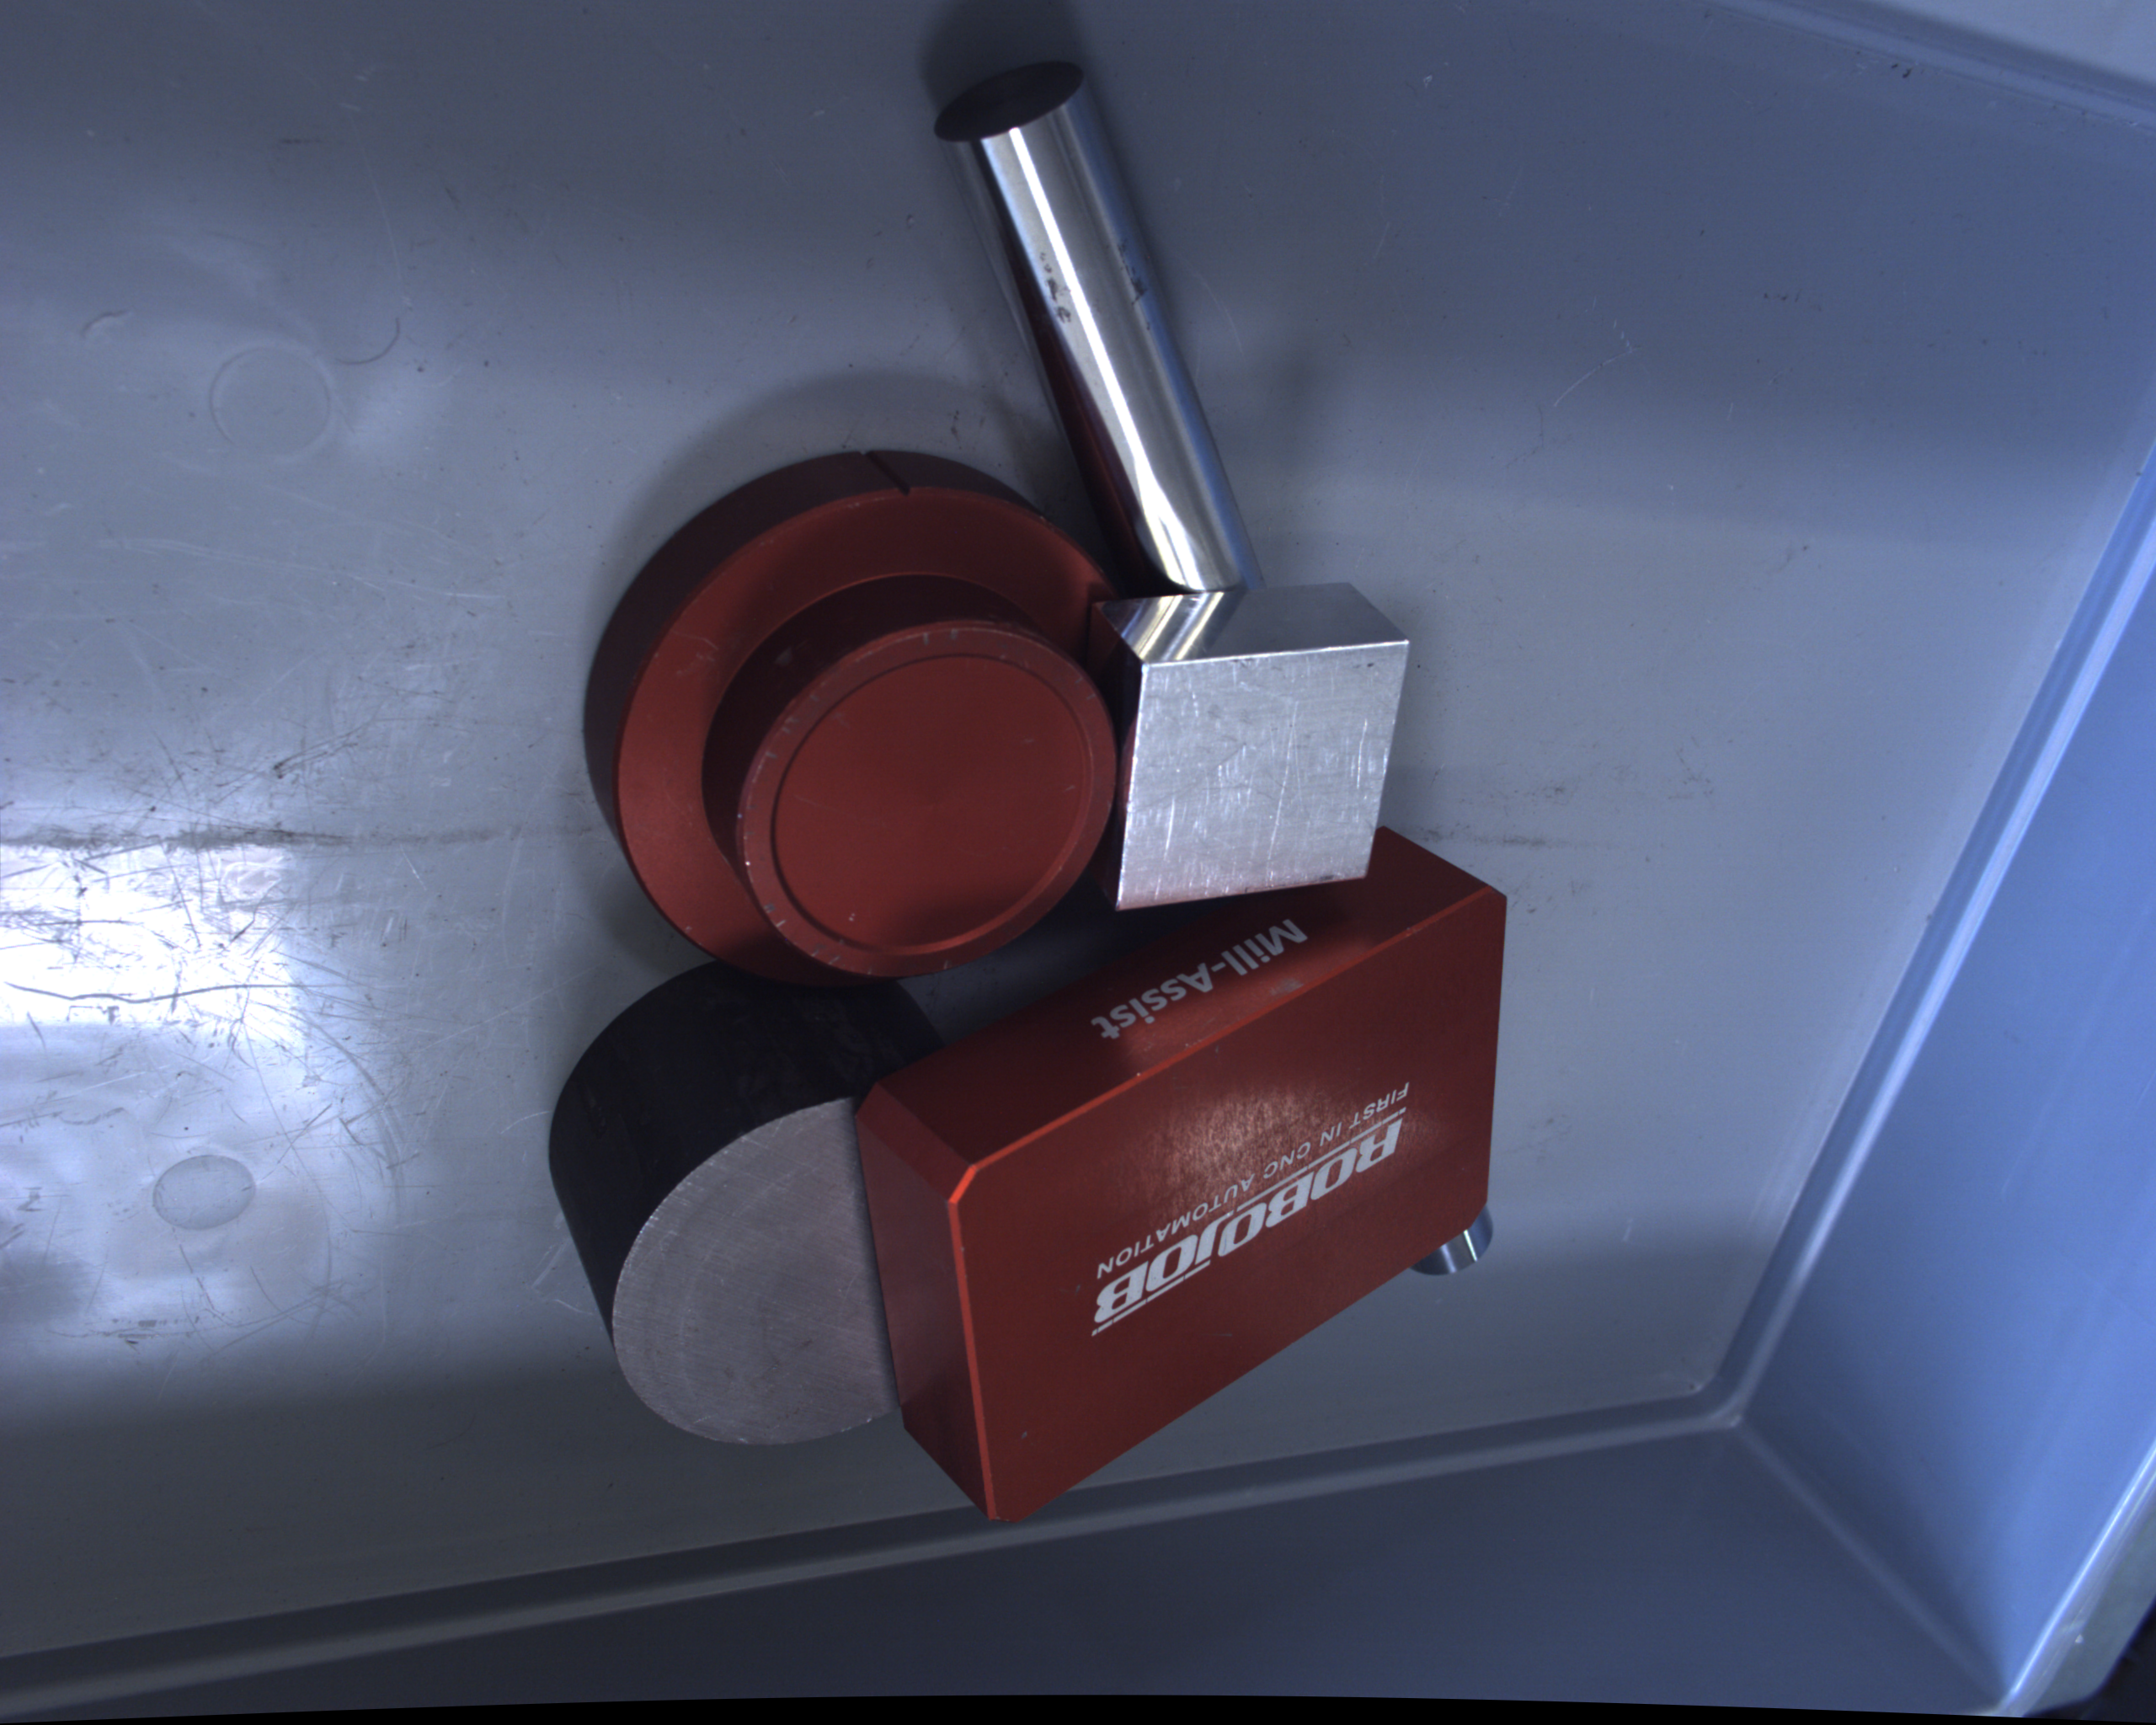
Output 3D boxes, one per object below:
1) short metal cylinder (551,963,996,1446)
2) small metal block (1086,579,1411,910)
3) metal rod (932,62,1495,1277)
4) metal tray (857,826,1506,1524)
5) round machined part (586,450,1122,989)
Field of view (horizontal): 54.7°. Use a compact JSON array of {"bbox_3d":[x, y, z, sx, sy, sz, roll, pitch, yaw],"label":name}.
[{"bbox_3d":[-0.055,0.064,0.399,0.081,0.050,0.079,-14,124,-21],"label":"short metal cylinder"},{"bbox_3d":[0.028,-0.022,0.378,0.050,0.025,0.050,-7,124,-19],"label":"small metal block"},{"bbox_3d":[0.039,-0.014,0.420,0.025,0.025,0.299,-32,129,-8],"label":"metal rod"},{"bbox_3d":[0.025,0.058,0.403,0.131,0.030,0.089,-25,129,-29],"label":"metal tray"},{"bbox_3d":[-0.032,-0.019,0.365,0.099,0.042,0.097,-13,124,-20],"label":"round machined part"}]
